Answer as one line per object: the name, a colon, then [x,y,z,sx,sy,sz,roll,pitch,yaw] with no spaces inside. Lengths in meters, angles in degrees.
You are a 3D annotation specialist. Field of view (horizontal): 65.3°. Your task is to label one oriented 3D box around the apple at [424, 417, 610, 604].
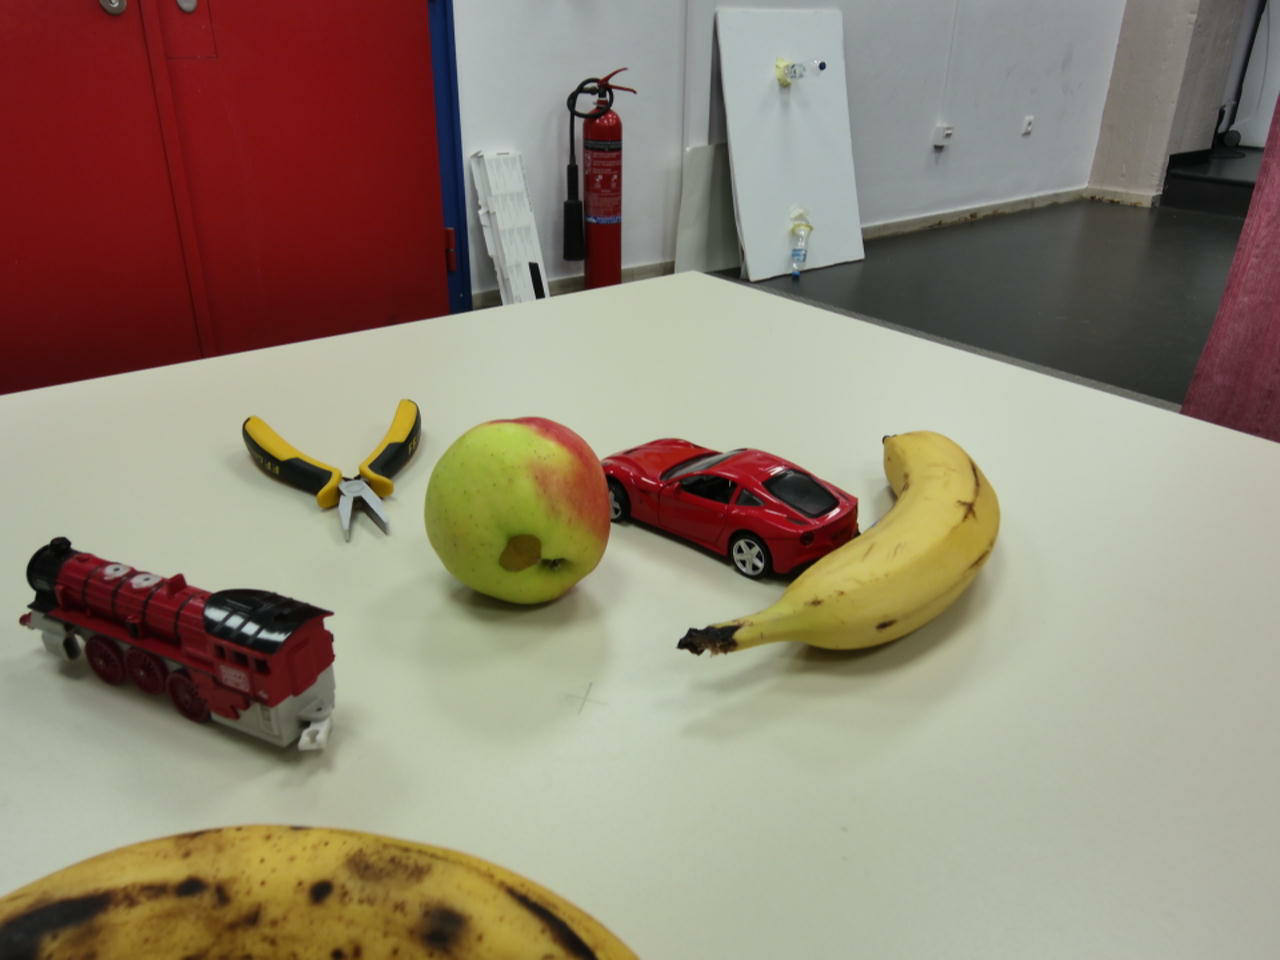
apple: [-0.049,0.011,0.407,0.075,0.074,0.075,14,27,28]
